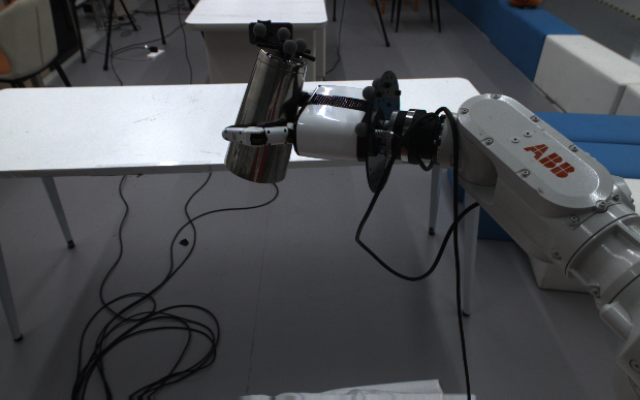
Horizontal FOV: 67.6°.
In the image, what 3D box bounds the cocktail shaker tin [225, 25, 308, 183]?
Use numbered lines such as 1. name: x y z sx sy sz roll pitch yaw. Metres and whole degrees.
1. cocktail shaker tin: -0.071 -0.122 0.674 0.093 0.170 0.093 15 27 -8
